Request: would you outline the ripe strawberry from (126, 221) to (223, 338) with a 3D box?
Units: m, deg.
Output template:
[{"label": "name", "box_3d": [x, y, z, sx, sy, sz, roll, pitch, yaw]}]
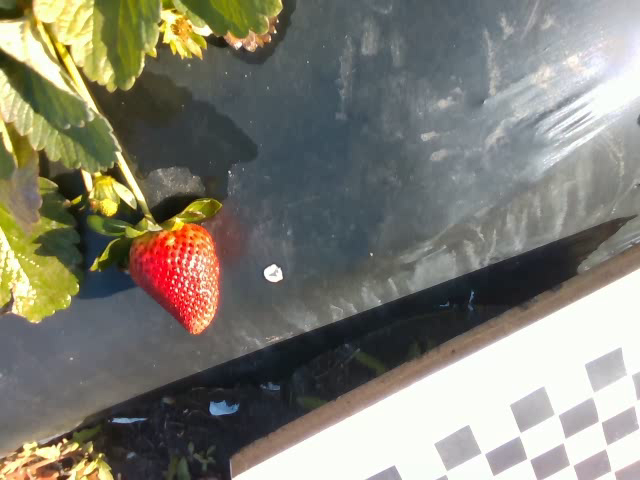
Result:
[{"label": "ripe strawberry", "box_3d": [-0.059, 0.017, 0.264, 0.045, 0.055, 0.042, -22, -5, -8]}]
